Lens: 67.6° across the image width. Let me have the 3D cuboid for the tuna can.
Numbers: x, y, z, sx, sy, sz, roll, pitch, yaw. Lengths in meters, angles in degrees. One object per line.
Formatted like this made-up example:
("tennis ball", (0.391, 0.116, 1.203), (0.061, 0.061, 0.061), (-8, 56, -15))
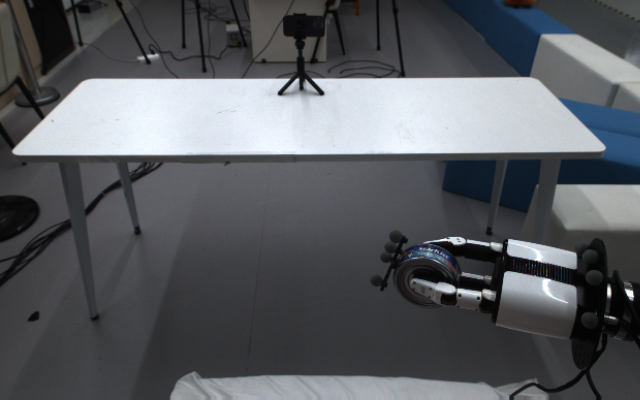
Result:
("tuna can", (0.145, 0.100, 0.646), (0.085, 0.085, 0.034), (12, 29, 14))
